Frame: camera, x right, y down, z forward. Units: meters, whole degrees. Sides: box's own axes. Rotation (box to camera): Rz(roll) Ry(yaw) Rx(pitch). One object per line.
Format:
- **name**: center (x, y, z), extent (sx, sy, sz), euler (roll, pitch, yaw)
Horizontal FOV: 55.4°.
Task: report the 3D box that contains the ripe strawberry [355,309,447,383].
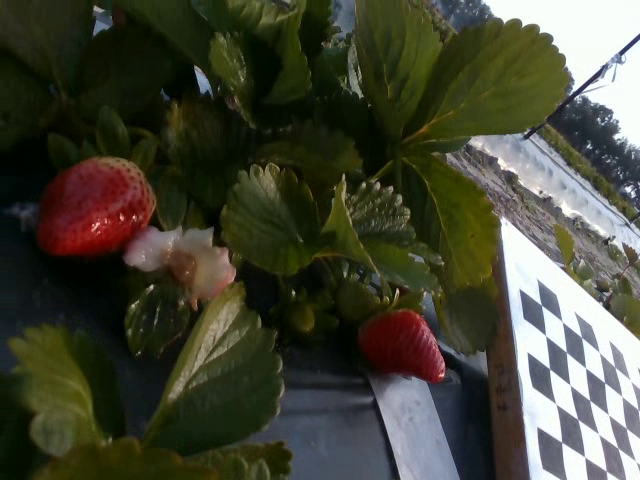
- **ripe strawberry**: center (0.045, 0.052, 0.284), extent (0.036, 0.055, 0.050), euler (-39, -53, 18)
